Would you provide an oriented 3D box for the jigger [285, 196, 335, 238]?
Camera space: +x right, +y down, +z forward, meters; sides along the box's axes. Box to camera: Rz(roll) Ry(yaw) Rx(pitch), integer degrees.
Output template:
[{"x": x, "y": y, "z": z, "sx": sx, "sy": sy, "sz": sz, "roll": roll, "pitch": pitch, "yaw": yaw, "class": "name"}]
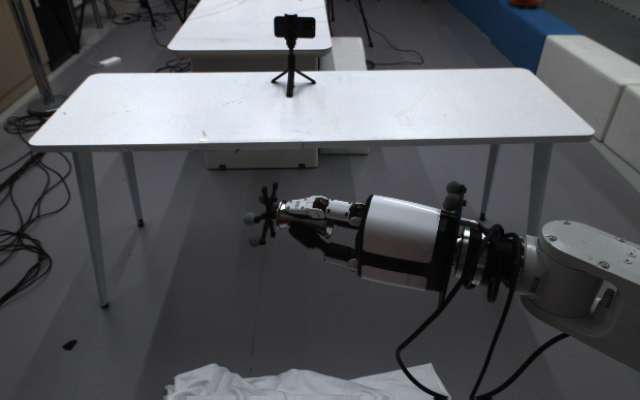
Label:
[{"x": -0.012, "y": 0.019, "z": 0.627, "sx": 0.071, "sy": 0.043, "sz": 0.043, "roll": 8, "pitch": 35, "yaw": 14, "class": "jigger"}]
